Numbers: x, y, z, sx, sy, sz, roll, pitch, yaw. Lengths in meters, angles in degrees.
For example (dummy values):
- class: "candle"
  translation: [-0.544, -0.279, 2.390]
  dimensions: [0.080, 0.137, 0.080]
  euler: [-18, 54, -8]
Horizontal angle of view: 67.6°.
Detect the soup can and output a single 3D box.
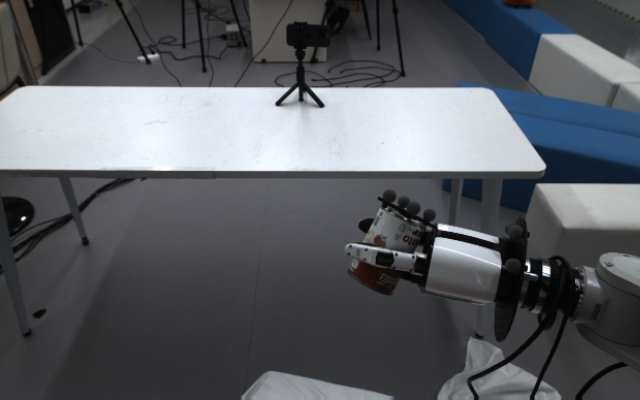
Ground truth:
- class: "soup can"
  translation: [0.091, 0.066, 0.642]
  dimensions: [0.067, 0.101, 0.067]
  euler: [26, 5, -3]
